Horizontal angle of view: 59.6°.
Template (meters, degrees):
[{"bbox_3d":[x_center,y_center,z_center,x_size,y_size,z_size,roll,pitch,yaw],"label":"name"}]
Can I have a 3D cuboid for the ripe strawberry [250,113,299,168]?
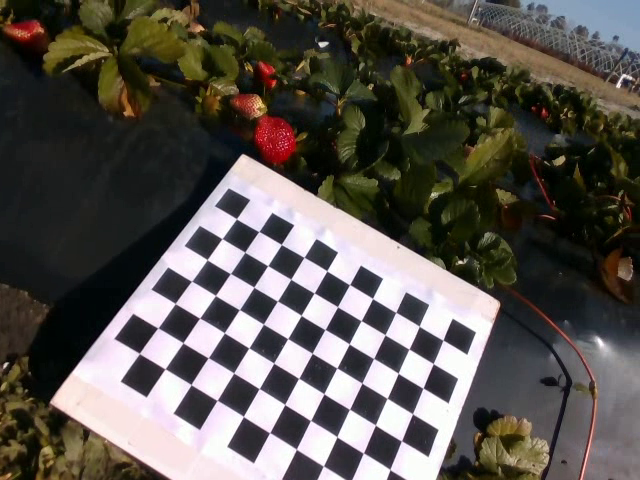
[{"bbox_3d":[-0.051,-0.100,0.559,0.058,0.066,0.062,-23,-21,7],"label":"ripe strawberry"}]
